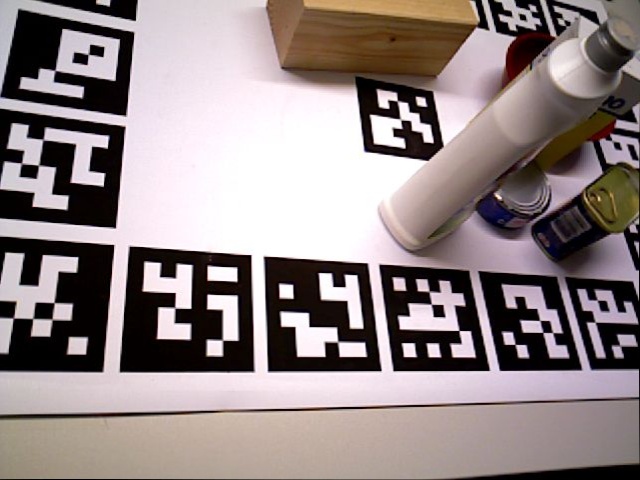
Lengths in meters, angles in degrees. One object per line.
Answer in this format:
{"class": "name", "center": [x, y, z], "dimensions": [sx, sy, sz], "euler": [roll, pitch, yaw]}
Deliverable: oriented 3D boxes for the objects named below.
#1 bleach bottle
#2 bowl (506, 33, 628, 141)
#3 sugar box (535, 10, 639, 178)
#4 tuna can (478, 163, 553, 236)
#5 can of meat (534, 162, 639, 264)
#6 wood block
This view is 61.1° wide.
{"class": "bleach bottle", "center": [0.149, -0.080, 0.448], "dimensions": [0.100, 0.256, 0.068], "euler": [-22, 74, -29]}
{"class": "bowl", "center": [0.288, -0.173, 0.665], "dimensions": [0.160, 0.056, 0.160], "euler": [7, 63, -14]}
{"class": "sugar box", "center": [0.243, -0.133, 0.552], "dimensions": [0.092, 0.180, 0.044], "euler": [22, 60, -6]}
{"class": "tuna can", "center": [0.203, -0.048, 0.580], "dimensions": [0.085, 0.034, 0.085], "euler": [7, 66, -18]}
{"class": "can of meat", "center": [0.291, -0.027, 0.583], "dimensions": [0.099, 0.086, 0.057], "euler": [-27, 74, -32]}
{"class": "wood block", "center": [0.049, -0.241, 0.585], "dimensions": [0.203, 0.092, 0.090], "euler": [-4, 71, -24]}
